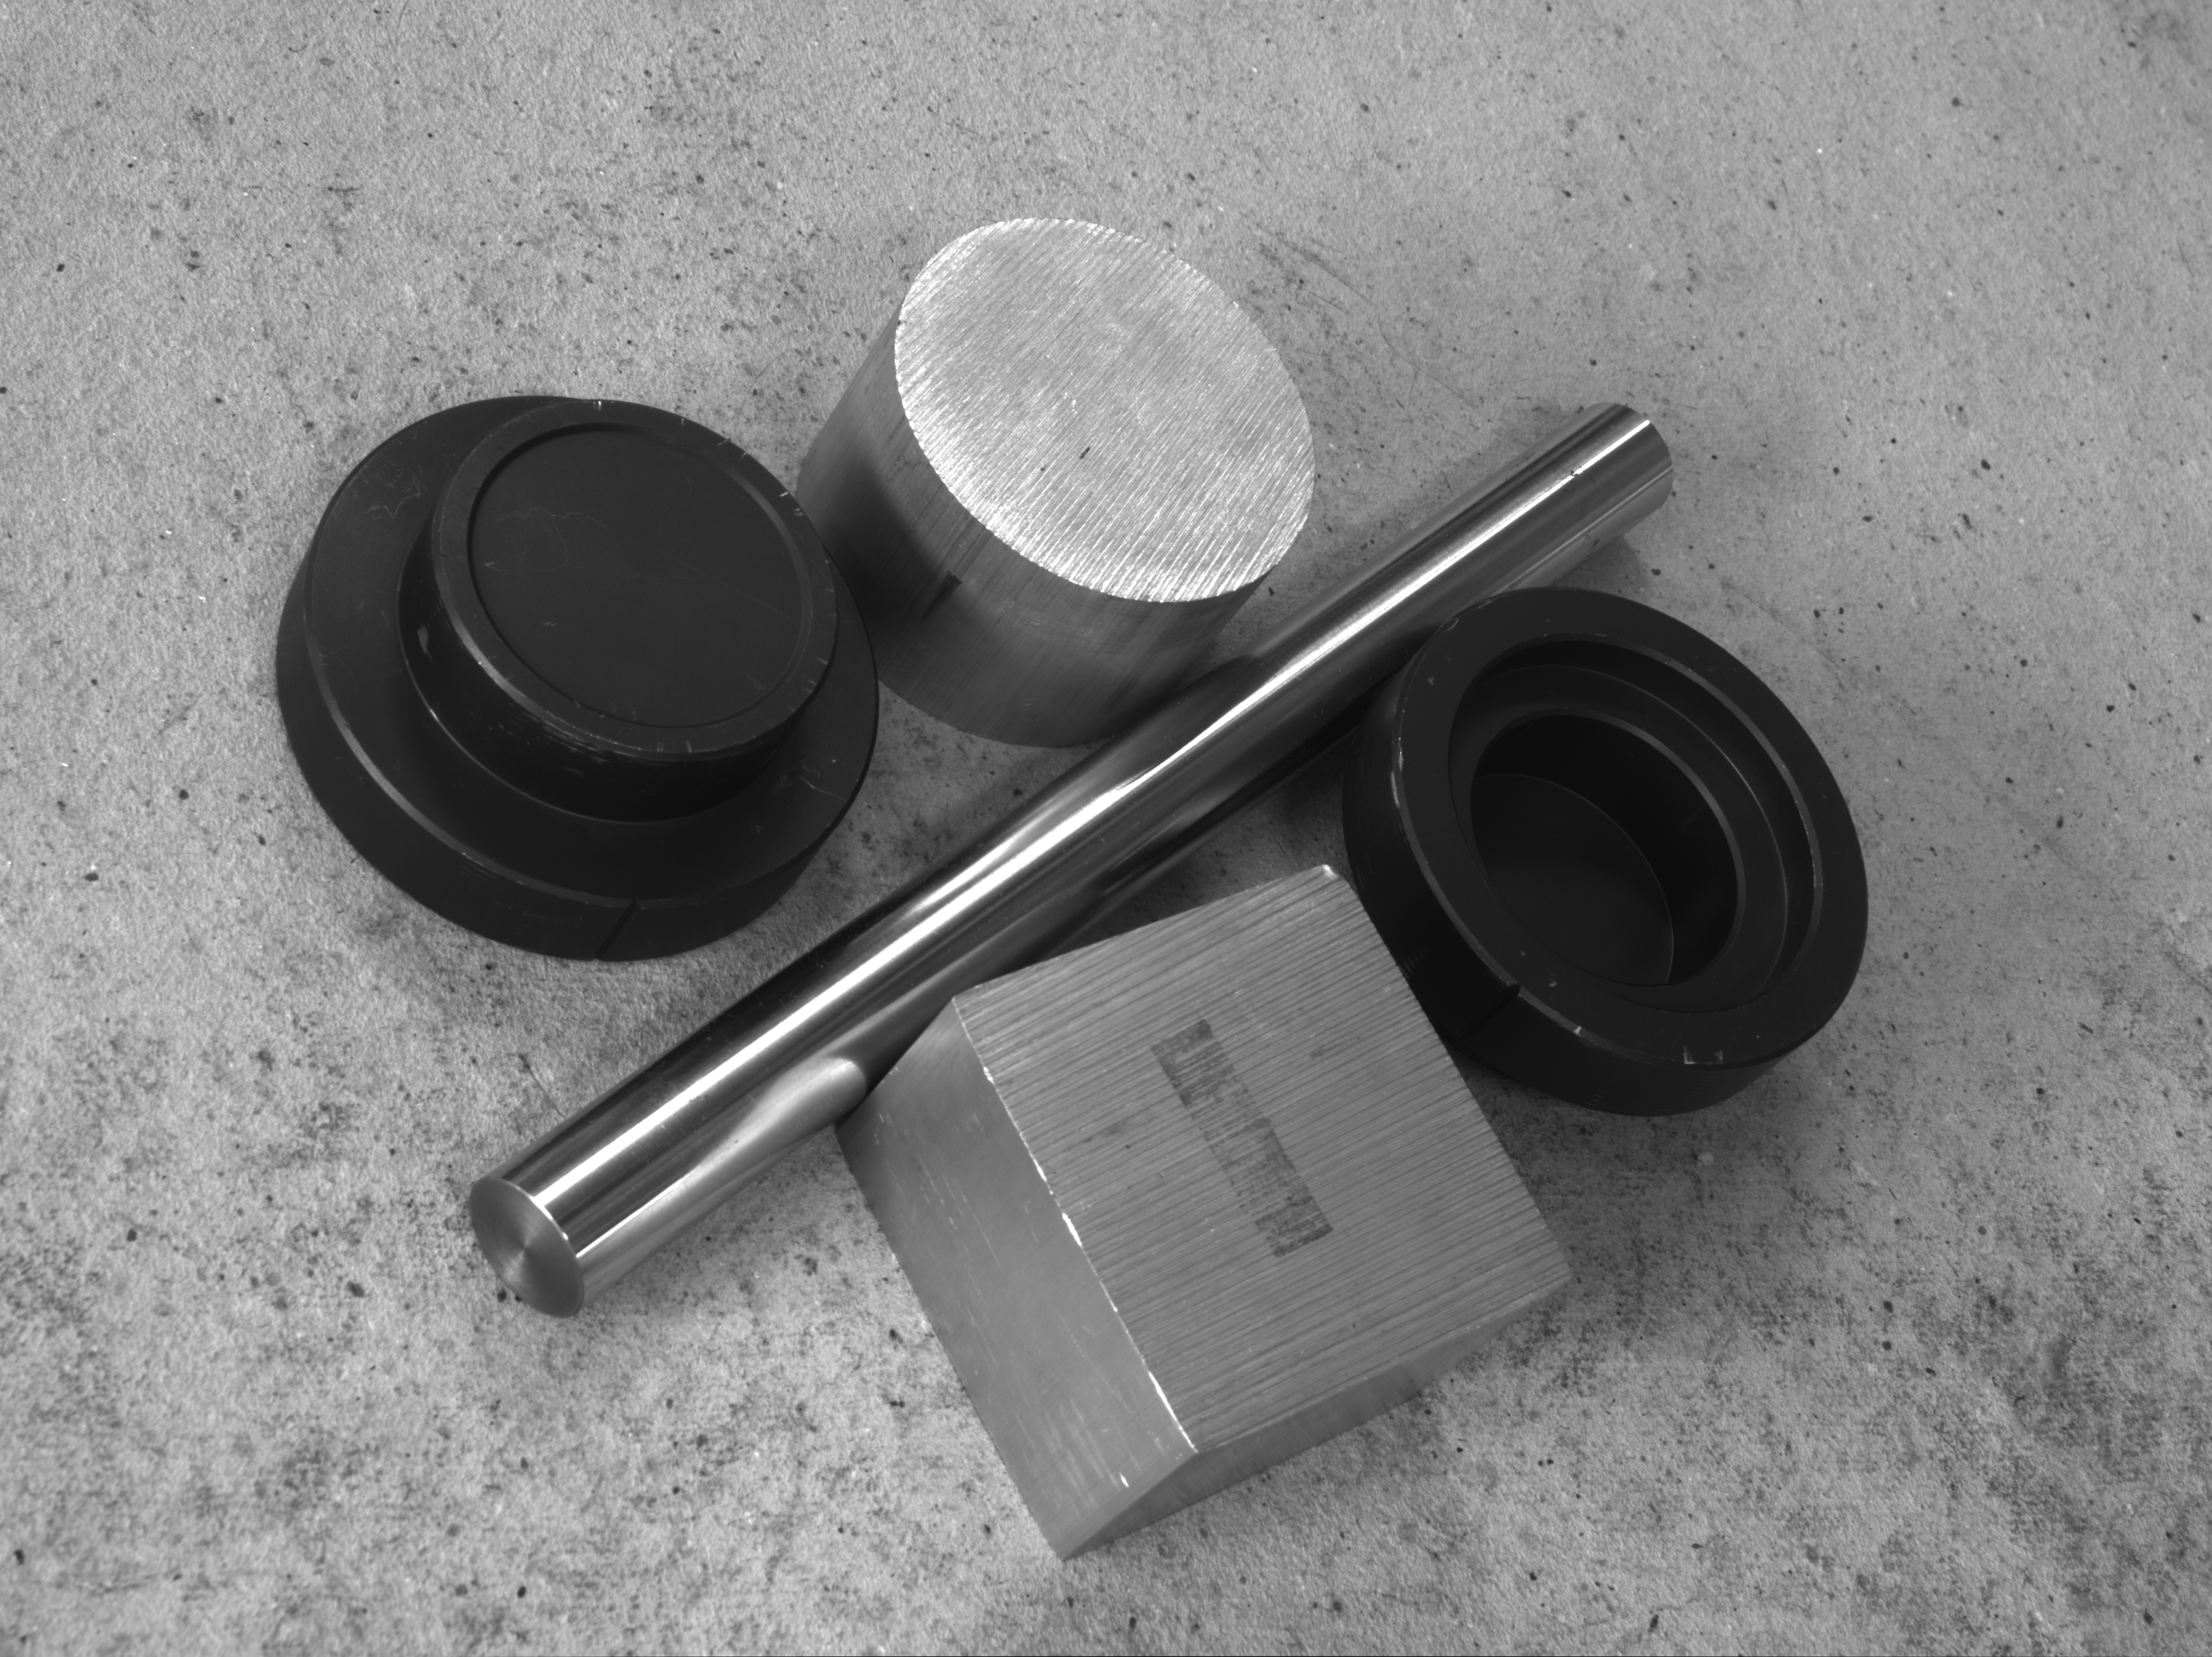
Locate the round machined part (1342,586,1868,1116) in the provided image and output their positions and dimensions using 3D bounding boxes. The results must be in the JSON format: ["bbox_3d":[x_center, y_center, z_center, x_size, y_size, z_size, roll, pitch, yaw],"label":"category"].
[{"bbox_3d":[0.086,0.008,0.670,0.098,0.042,0.098,13,56,-21],"label":"round machined part"}]

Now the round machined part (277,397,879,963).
[{"bbox_3d":[-0.083,-0.031,0.603,0.098,0.042,0.098,13,56,-21],"label":"round machined part"}]

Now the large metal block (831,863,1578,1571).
[{"bbox_3d":[0.015,0.062,0.595,0.080,0.050,0.080,-18,71,-35],"label":"large metal block"}]

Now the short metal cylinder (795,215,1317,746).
[{"bbox_3d":[-0.009,-0.062,0.656,0.080,0.050,0.080,13,56,-21],"label":"short metal cylinder"}]

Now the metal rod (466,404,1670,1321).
[{"bbox_3d":[0.008,-0.005,0.648,0.025,0.025,0.301,49,51,6],"label":"metal rod"}]
